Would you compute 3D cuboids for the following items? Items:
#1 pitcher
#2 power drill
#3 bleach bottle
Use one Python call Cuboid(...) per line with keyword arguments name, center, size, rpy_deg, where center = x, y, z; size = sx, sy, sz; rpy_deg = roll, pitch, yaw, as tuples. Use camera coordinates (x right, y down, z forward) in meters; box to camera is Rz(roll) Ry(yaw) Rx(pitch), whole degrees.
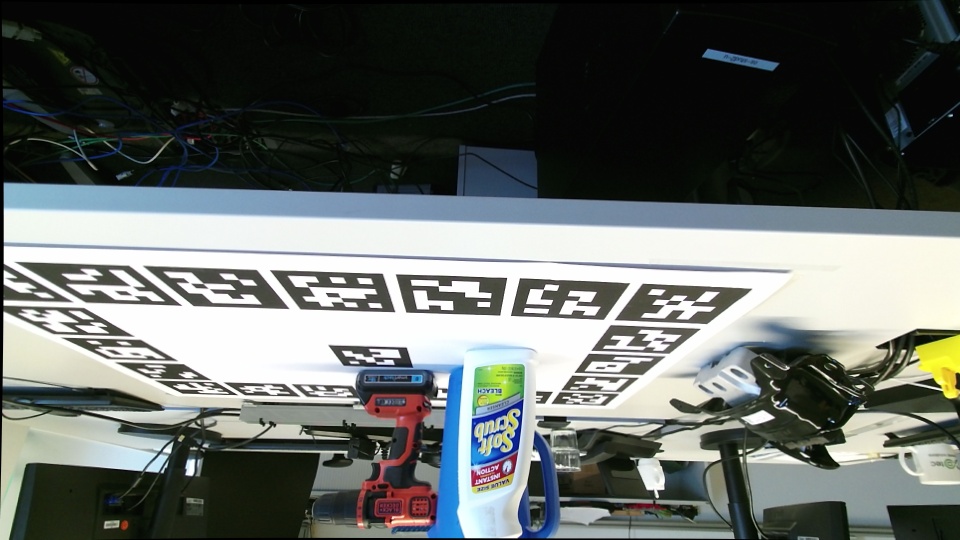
Cuboid(name="pitcher", center=(0.008, 0.277, 0.747), size=(0.189, 0.241, 0.134), rpy_deg=(-13, 148, 23))
Cuboid(name="power drill", center=(-0.160, 0.274, 0.766), size=(0.185, 0.186, 0.057), rpy_deg=(3, 149, 7))
Cuboid(name="bleach bottle", center=(0.021, 0.247, 0.648), size=(0.103, 0.249, 0.068), rpy_deg=(-3, 151, 6))
